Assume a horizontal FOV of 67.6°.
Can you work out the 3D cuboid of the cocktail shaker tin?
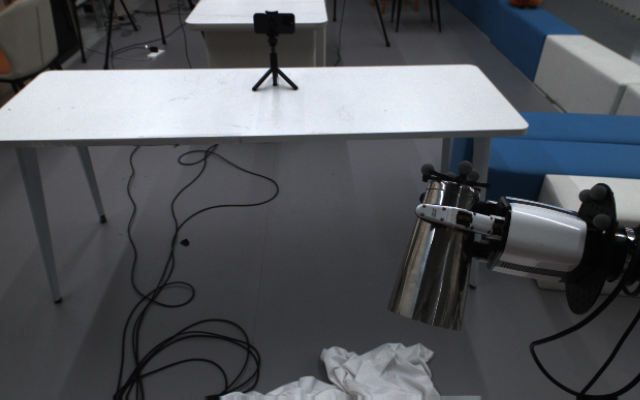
[{"bbox_3d":[0.152,0.064,0.612,0.093,0.170,0.093,14,-5,1],"label":"cocktail shaker tin"}]
